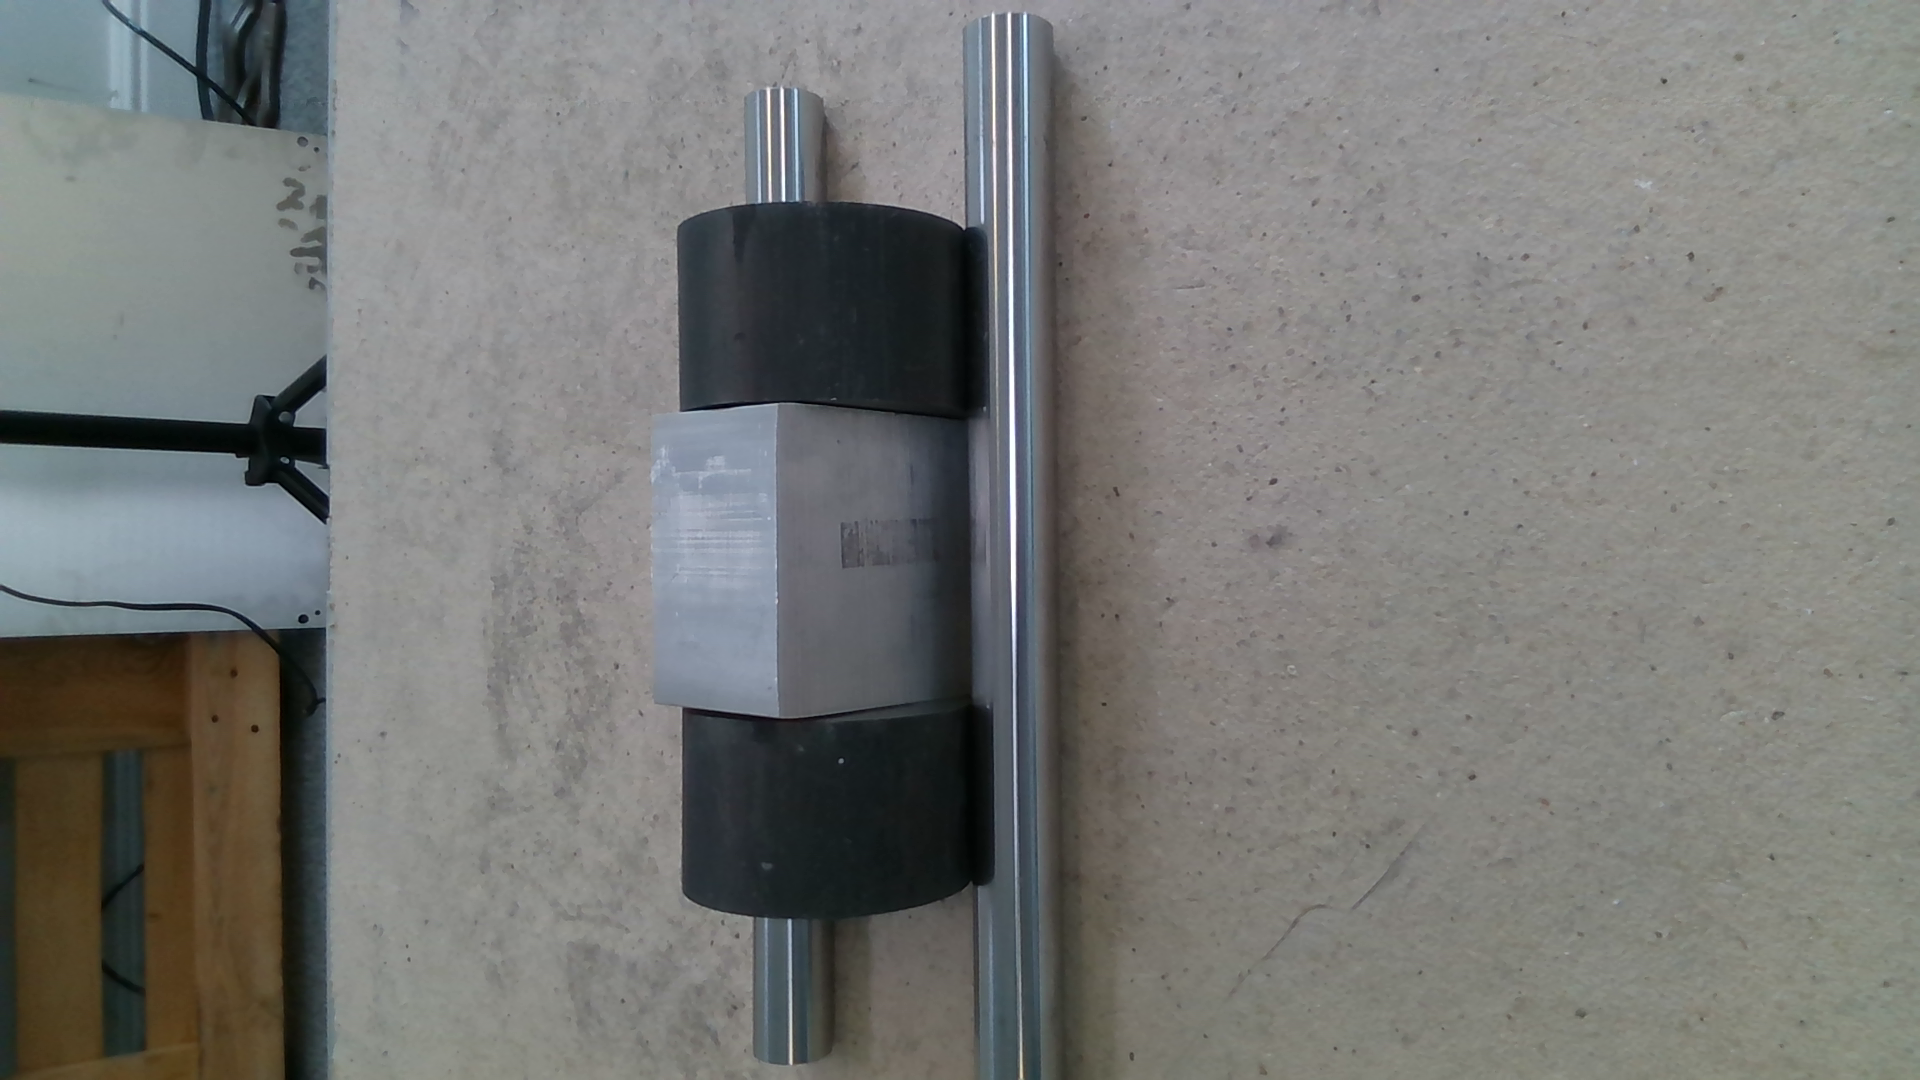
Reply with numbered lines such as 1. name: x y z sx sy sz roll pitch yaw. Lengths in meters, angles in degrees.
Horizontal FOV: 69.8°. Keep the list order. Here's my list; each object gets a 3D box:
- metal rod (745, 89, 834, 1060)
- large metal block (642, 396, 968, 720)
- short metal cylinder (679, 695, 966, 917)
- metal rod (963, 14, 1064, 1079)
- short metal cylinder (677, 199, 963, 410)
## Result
1. metal rod: -0.054 0.011 0.437 0.025 0.025 0.300 -1 90 40
2. large metal block: -0.041 0.005 0.386 0.050 0.080 0.080 0 90 40
3. short metal cylinder: -0.038 0.070 0.387 0.080 0.080 0.050 -1 89 40
4. metal rod: 0.015 0.010 0.379 0.025 0.025 0.300 -1 90 40
5. short metal cylinder: -0.039 -0.061 0.387 0.080 0.080 0.050 -1 89 40
